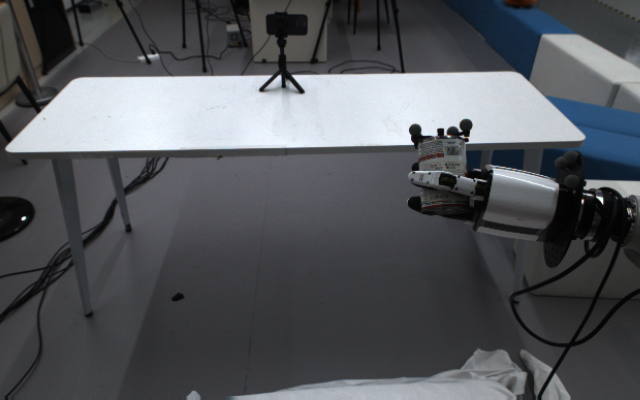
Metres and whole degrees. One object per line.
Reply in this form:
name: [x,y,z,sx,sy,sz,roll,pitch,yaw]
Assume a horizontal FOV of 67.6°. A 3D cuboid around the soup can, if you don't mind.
soup can: [0.175,-0.033,0.681,0.067,0.101,0.067,-1,-9,0]
